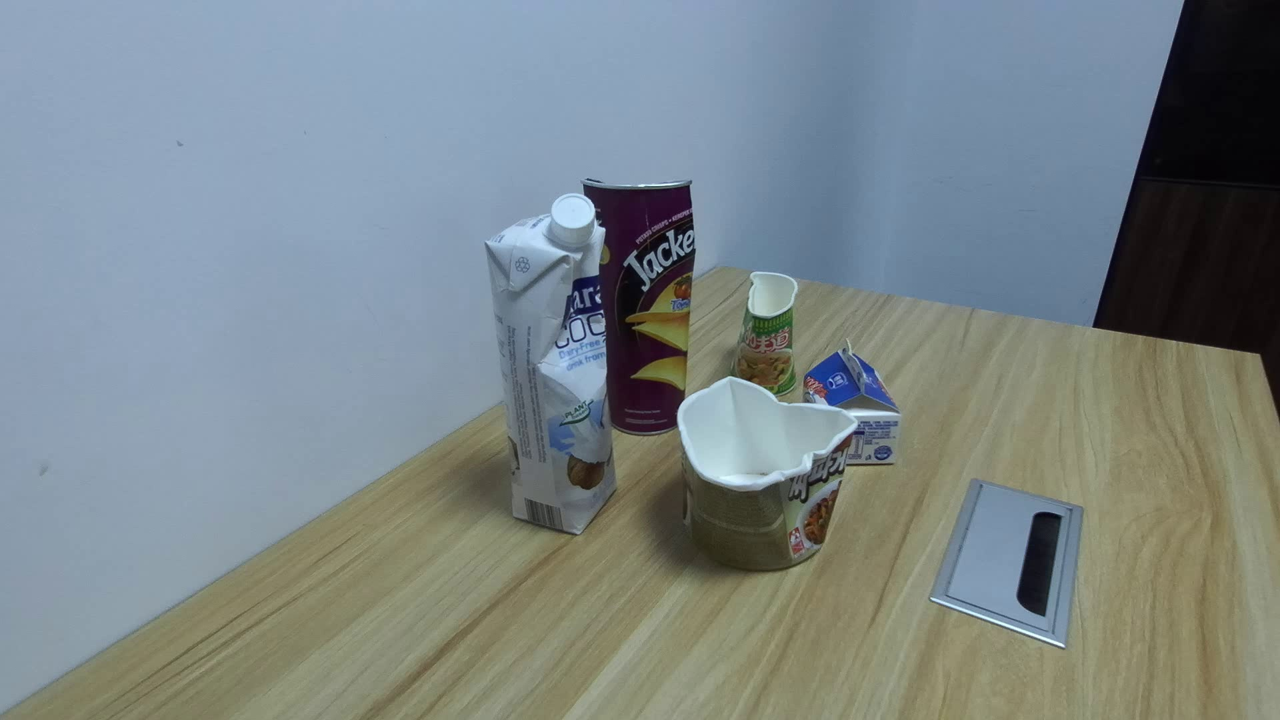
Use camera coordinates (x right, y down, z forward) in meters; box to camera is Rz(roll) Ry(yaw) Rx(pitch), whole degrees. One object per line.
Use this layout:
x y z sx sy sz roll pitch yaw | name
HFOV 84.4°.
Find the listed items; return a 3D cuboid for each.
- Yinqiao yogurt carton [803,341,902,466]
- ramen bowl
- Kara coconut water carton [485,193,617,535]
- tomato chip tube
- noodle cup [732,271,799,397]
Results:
0.187 0.036 0.630 0.074 0.092 0.075 -1 27 2 | Yinqiao yogurt carton
0.082 0.088 0.522 0.113 0.097 0.134 18 31 31 | ramen bowl
-0.063 0.005 0.528 0.078 0.256 0.083 18 32 33 | Kara coconut water carton
0.004 -0.048 0.658 0.076 0.235 0.077 -18 28 -31 | tomato chip tube
0.130 -0.023 0.733 0.070 0.111 0.115 13 30 27 | noodle cup
